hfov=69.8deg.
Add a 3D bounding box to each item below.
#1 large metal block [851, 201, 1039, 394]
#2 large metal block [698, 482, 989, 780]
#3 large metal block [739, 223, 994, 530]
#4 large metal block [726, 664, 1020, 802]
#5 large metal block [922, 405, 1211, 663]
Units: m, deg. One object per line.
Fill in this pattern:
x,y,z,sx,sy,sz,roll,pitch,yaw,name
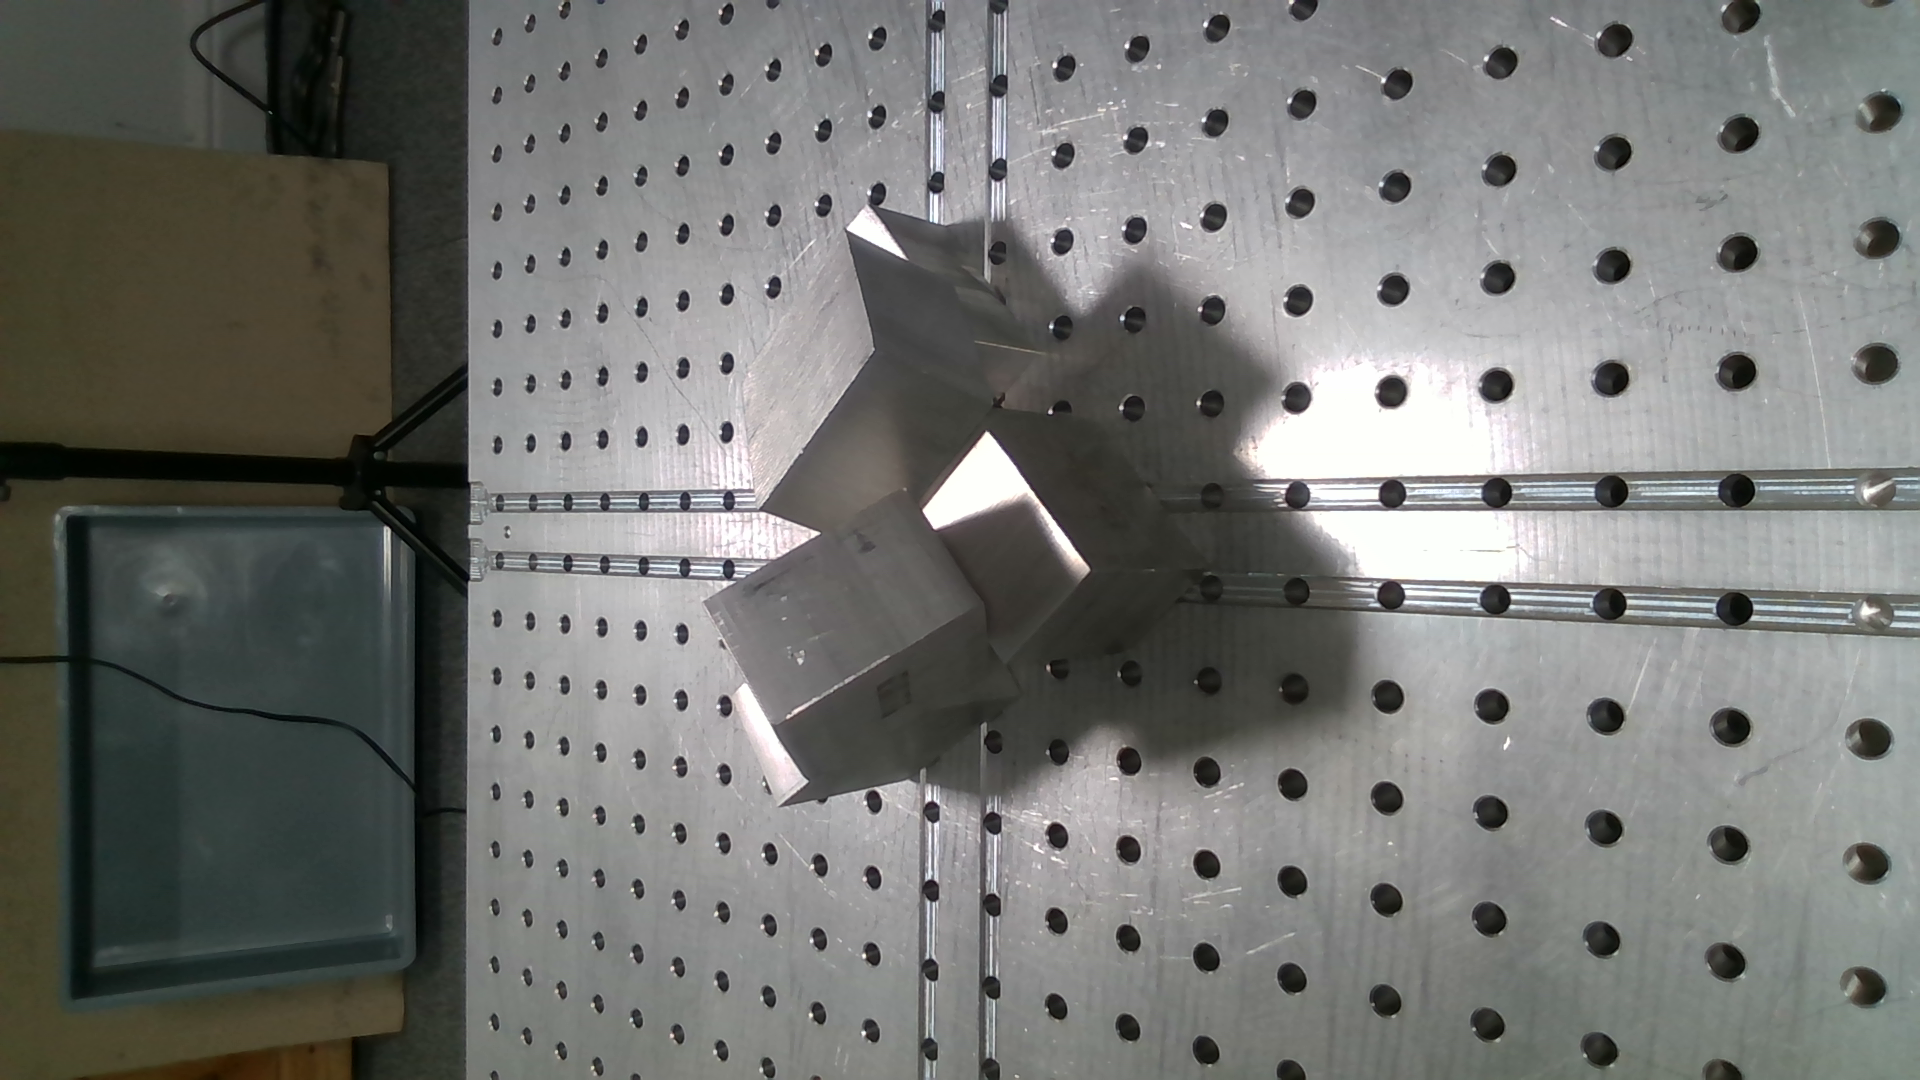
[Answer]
-0.026,-0.083,0.590,0.080,0.050,0.080,-47,62,30,large metal block
-0.037,0.035,0.488,0.080,0.080,0.050,-31,70,-9,large metal block
-0.038,-0.056,0.515,0.080,0.050,0.080,-50,35,29,large metal block
-0.037,0.064,0.579,0.080,0.080,0.050,-41,65,33,large metal block
0.034,-0.003,0.518,0.050,0.080,0.080,-49,61,29,large metal block
